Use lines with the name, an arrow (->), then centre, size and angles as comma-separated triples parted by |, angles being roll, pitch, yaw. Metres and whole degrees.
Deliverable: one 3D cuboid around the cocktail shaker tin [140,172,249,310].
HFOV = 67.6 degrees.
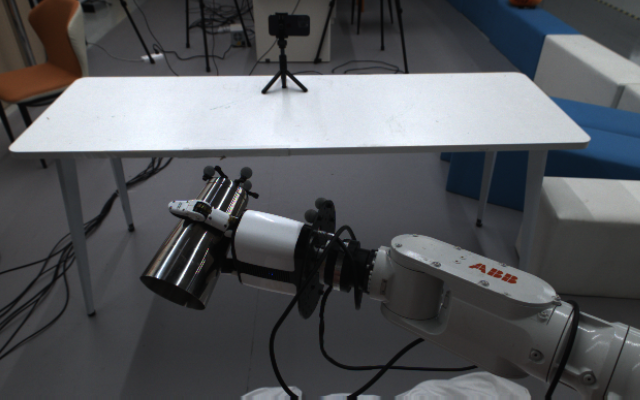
cocktail shaker tin -> -0.165, 0.053, 0.667 | 0.093, 0.093, 0.170 | 13, 58, 16
